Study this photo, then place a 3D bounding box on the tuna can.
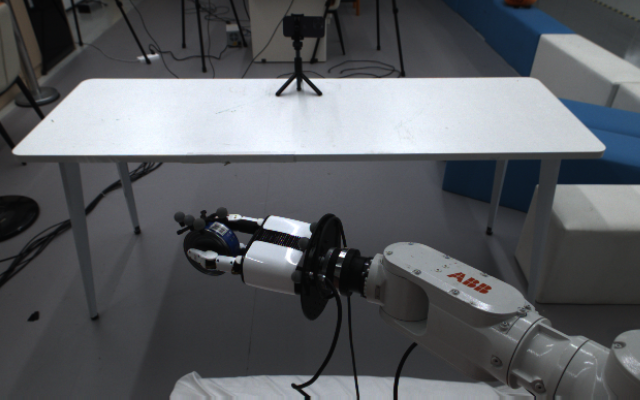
[{"bbox_3d":[-0.165,0.079,0.769,0.085,0.085,0.034,13,27,15],"label":"tuna can"}]
